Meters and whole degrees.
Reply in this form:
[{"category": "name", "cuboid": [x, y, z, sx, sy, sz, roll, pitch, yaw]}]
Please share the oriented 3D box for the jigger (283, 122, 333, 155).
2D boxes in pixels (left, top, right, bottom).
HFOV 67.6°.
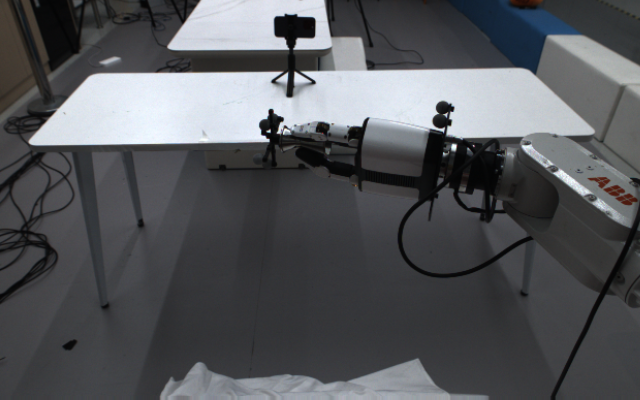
[{"category": "jigger", "cuboid": [-0.014, -0.089, 0.700, 0.071, 0.043, 0.043, 5, 35, 13]}]
